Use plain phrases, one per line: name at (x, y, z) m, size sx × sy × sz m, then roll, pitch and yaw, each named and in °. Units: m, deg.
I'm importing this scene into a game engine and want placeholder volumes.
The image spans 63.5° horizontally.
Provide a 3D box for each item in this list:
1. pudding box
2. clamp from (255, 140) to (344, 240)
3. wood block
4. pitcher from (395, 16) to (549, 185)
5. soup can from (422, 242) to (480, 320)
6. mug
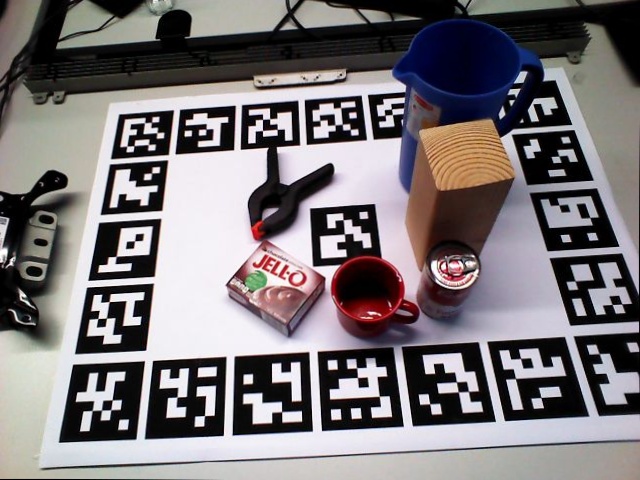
pudding box at (-0.065, 0.065, 0.716) m, size 0.114 × 0.039 × 0.089 m, roll 30°, pitch 70°, yaw 21°
clamp at (-0.049, -0.072, 0.798) m, size 0.122 × 0.037 × 0.164 m, roll 25°, pitch 66°, yaw 10°
wood block at (0.178, -0.049, 0.656) m, size 0.090 × 0.207 × 0.090 m, roll -5°, pitch 60°, yaw -2°
pitcher at (0.197, -0.164, 0.701) m, size 0.189 × 0.243 × 0.132 m, roll -6°, pitch 58°, yaw 5°
soup can at (0.168, 0.055, 0.658) m, size 0.068 × 0.102 × 0.067 m, roll -2°, pitch 63°, yaw 4°
mug at (0.077, 0.085, 0.664) m, size 0.117 × 0.082 × 0.093 m, roll 28°, pitch 64°, yaw 20°
